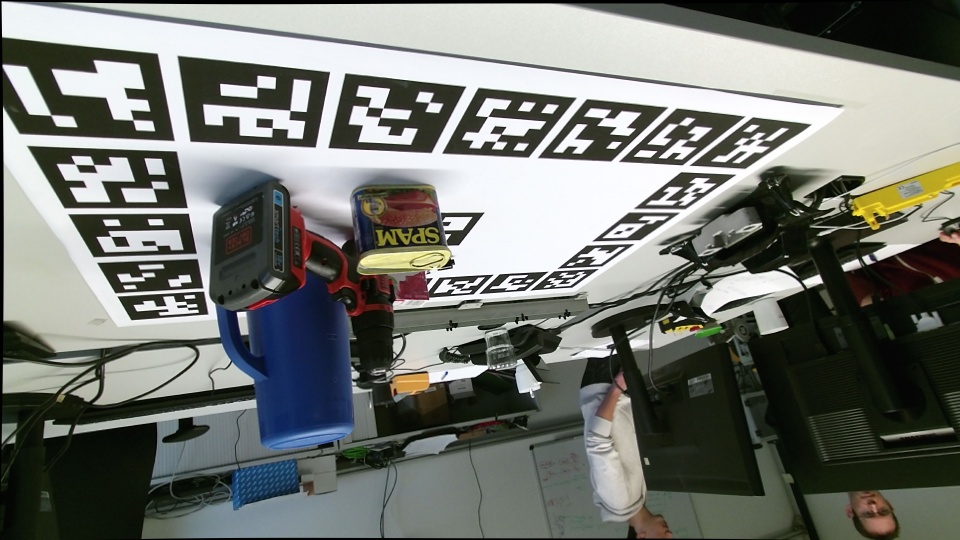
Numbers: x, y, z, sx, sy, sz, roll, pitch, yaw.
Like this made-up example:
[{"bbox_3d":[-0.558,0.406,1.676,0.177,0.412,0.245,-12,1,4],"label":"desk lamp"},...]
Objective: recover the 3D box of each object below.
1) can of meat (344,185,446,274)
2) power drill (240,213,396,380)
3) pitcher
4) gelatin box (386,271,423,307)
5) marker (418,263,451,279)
[{"bbox_3d":[-0.097,-0.046,0.595,0.102,0.083,0.058,-4,159,-23],"label":"can of meat"},{"bbox_3d":[-0.171,0.027,0.606,0.057,0.183,0.188,-28,149,26],"label":"power drill"},{"bbox_3d":[-0.246,0.093,0.665,0.133,0.241,0.189,-29,161,28],"label":"pitcher"},{"bbox_3d":[-0.130,0.013,0.747,0.090,0.073,0.030,3,150,-33],"label":"gelatin box"},{"bbox_3d":[-0.104,0.011,0.823,0.121,0.019,0.020,-15,158,1],"label":"marker"}]
